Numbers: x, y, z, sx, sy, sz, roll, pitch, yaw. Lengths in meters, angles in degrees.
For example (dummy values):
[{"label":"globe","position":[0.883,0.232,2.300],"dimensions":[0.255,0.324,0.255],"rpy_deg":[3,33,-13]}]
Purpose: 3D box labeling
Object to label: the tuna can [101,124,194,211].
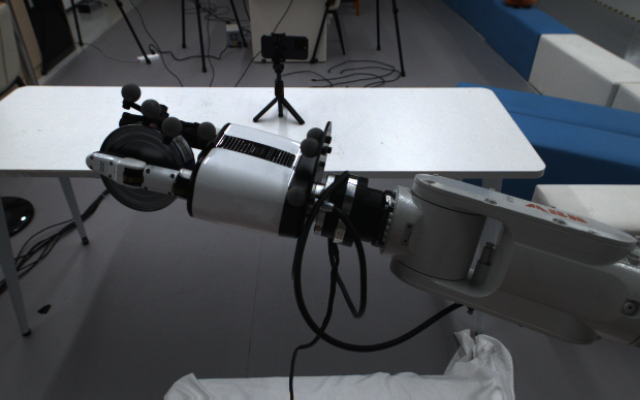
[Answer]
[{"label":"tuna can","position":[-0.166,-0.035,0.475],"dimensions":[0.085,0.085,0.034],"rpy_deg":[7,17,6]}]
